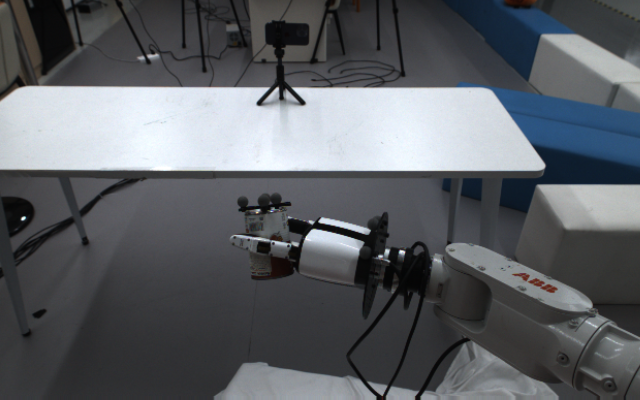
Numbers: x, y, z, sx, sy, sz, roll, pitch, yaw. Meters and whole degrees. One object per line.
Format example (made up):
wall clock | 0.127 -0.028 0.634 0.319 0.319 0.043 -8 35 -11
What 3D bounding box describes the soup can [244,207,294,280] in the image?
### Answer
soup can | -0.077 0.066 0.739 0.067 0.101 0.067 -7 3 0
